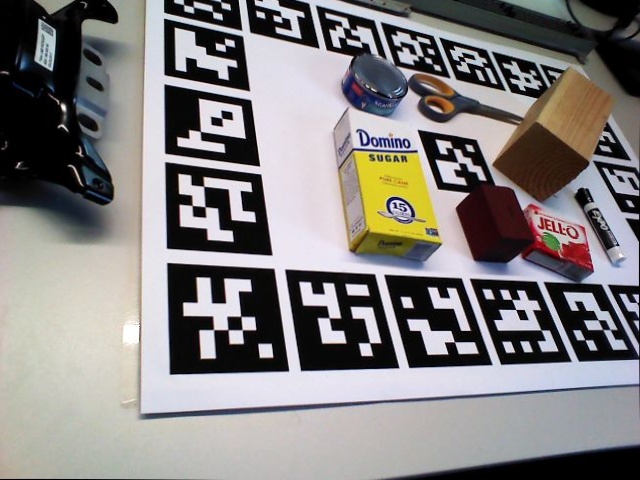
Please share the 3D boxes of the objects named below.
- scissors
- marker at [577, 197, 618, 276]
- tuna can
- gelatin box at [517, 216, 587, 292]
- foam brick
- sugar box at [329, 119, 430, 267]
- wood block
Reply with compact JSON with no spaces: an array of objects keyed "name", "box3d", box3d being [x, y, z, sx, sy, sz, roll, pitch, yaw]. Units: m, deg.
[{"name":"scissors","box3d":[0.221,-0.188,0.773,0.202,0.016,0.087,10,57,-16]},{"name":"marker","box3d":[0.391,-0.008,0.732,0.019,0.020,0.120,6,60,-22]},{"name":"tuna can","box3d":[0.067,-0.200,0.694,0.085,0.034,0.085,11,57,-18]},{"name":"gelatin box","box3d":[0.297,0.017,0.669,0.089,0.030,0.073,21,54,-11]},{"name":"foam brick","box3d":[0.206,-0.006,0.623,0.052,0.052,0.077,6,59,-21]},{"name":"sugar box","box3d":[0.066,-0.057,0.602,0.093,0.045,0.175,9,57,-20]},{"name":"wood block","box3d":[0.350,-0.142,0.759,0.090,0.091,0.204,40,51,4]}]
